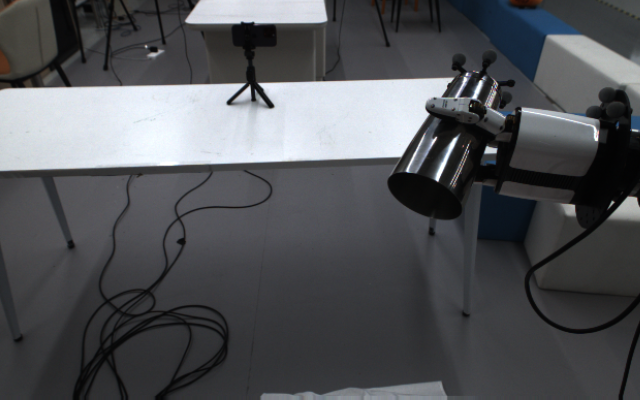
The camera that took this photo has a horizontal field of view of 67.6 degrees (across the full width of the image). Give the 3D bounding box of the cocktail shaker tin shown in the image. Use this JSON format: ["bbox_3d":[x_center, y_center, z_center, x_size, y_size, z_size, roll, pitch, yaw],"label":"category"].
[{"bbox_3d":[0.161,-0.075,0.583,0.093,0.093,0.170,19,67,23],"label":"cocktail shaker tin"}]
